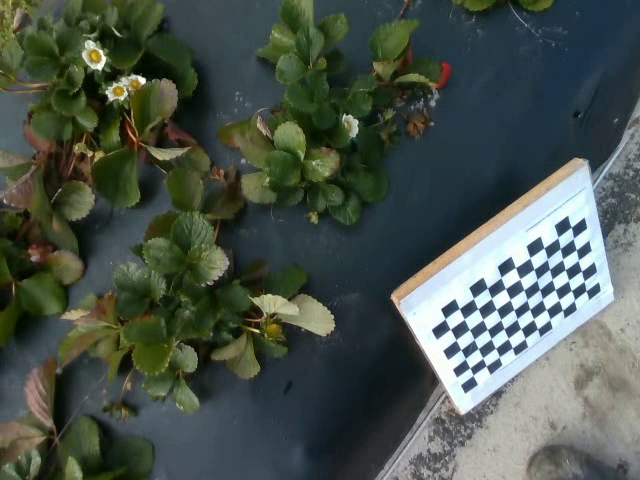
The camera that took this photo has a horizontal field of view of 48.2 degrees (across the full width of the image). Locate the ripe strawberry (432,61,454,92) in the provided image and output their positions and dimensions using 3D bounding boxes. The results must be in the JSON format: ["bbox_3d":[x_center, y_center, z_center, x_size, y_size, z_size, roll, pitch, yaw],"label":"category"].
[{"bbox_3d":[0.092,-0.130,0.561,0.021,0.027,0.021,20,28,-48],"label":"ripe strawberry"}]
